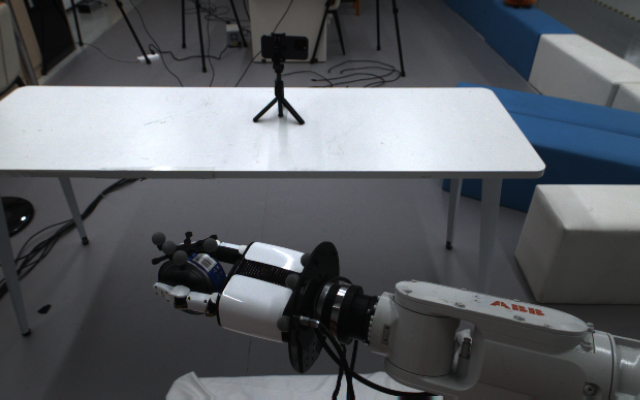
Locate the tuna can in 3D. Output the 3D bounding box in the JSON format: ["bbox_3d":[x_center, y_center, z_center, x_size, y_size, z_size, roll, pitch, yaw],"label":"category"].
[{"bbox_3d":[-0.164,0.106,0.633,0.085,0.085,0.034,14,29,17],"label":"tuna can"}]
